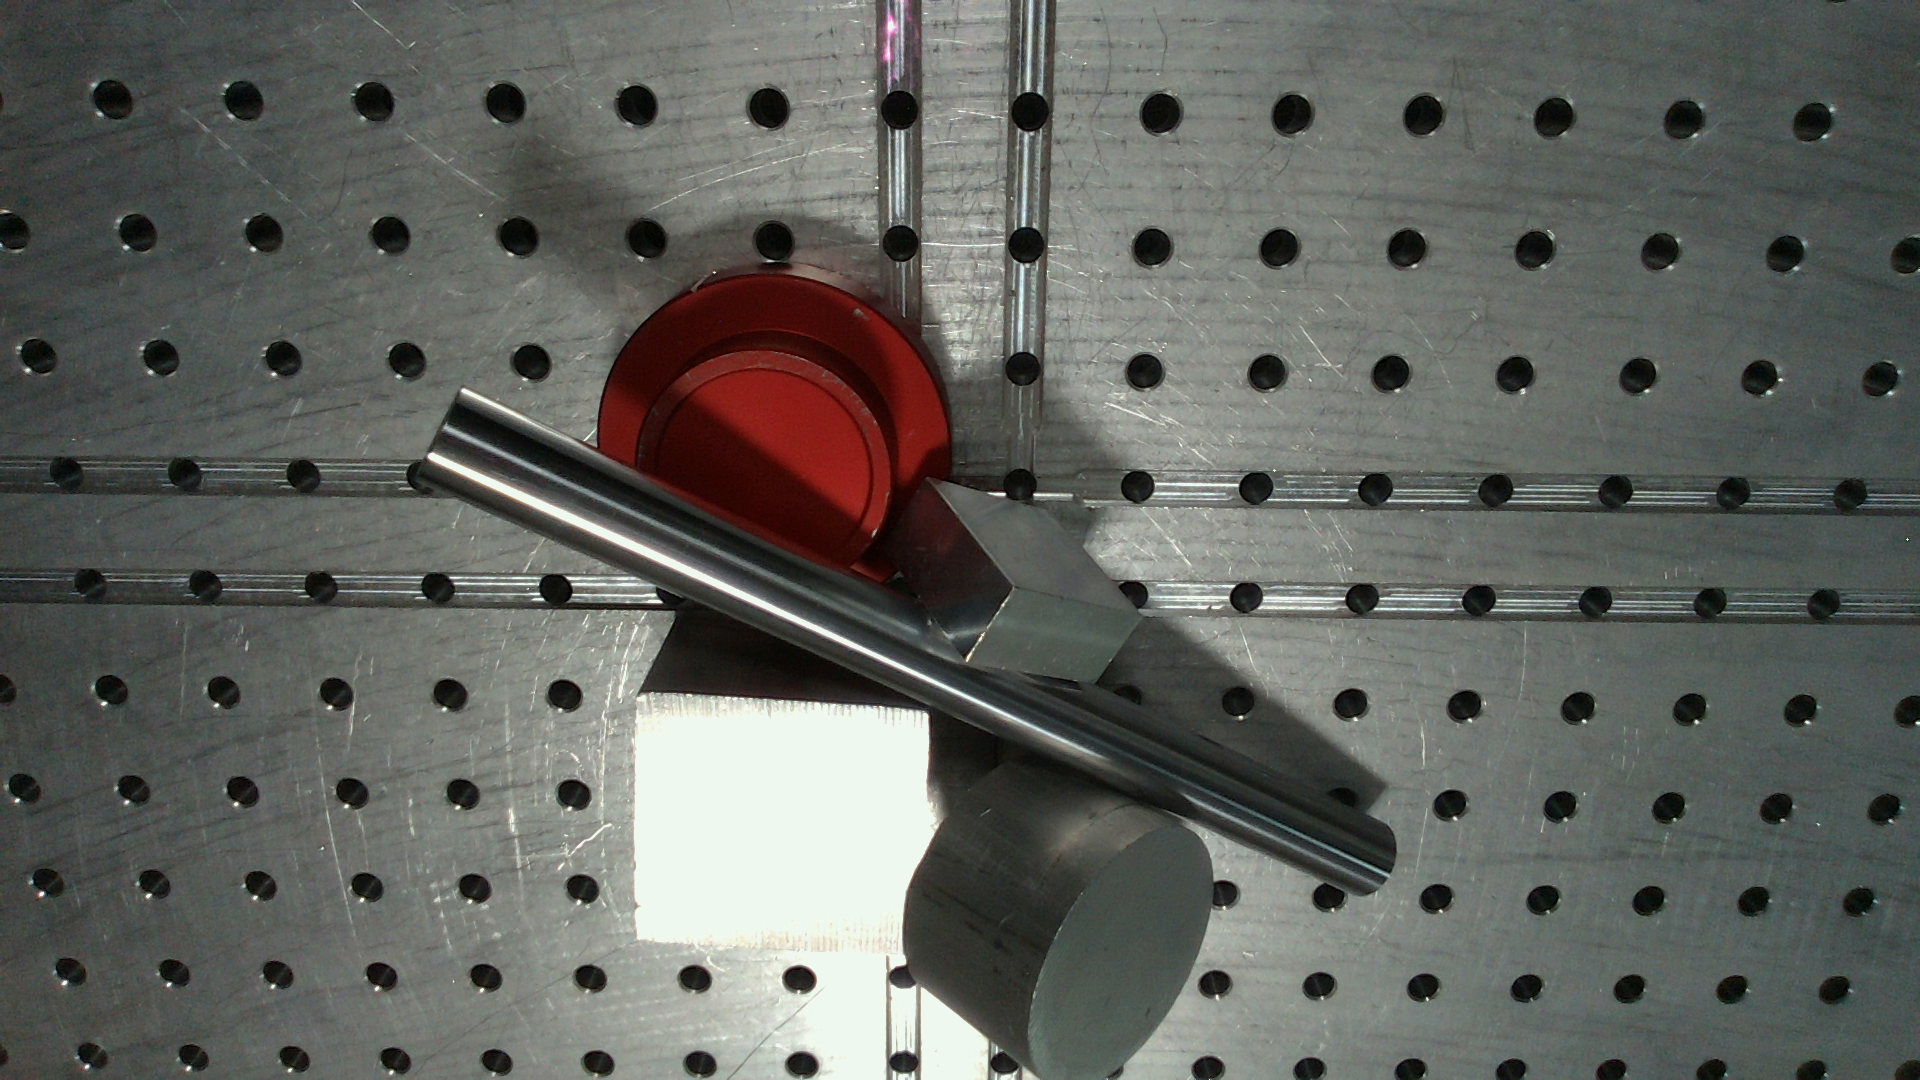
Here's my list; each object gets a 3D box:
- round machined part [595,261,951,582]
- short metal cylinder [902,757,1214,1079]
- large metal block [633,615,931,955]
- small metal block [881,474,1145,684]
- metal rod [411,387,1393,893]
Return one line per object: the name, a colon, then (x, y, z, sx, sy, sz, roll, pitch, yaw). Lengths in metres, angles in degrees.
round machined part: (-0.051, -0.025, 0.378, 0.098, 0.042, 0.098, 0, 110, 0)
short metal cylinder: (0.029, 0.110, 0.401, 0.080, 0.050, 0.080, -23, 123, -39)
large metal block: (-0.051, 0.072, 0.407, 0.080, 0.050, 0.080, 4, 110, -2)
small metal block: (0.014, 0.011, 0.377, 0.050, 0.050, 0.025, 14, 118, -42)
metal rod: (0.003, 0.037, 0.376, 0.301, 0.025, 0.025, 26, 109, -23)
